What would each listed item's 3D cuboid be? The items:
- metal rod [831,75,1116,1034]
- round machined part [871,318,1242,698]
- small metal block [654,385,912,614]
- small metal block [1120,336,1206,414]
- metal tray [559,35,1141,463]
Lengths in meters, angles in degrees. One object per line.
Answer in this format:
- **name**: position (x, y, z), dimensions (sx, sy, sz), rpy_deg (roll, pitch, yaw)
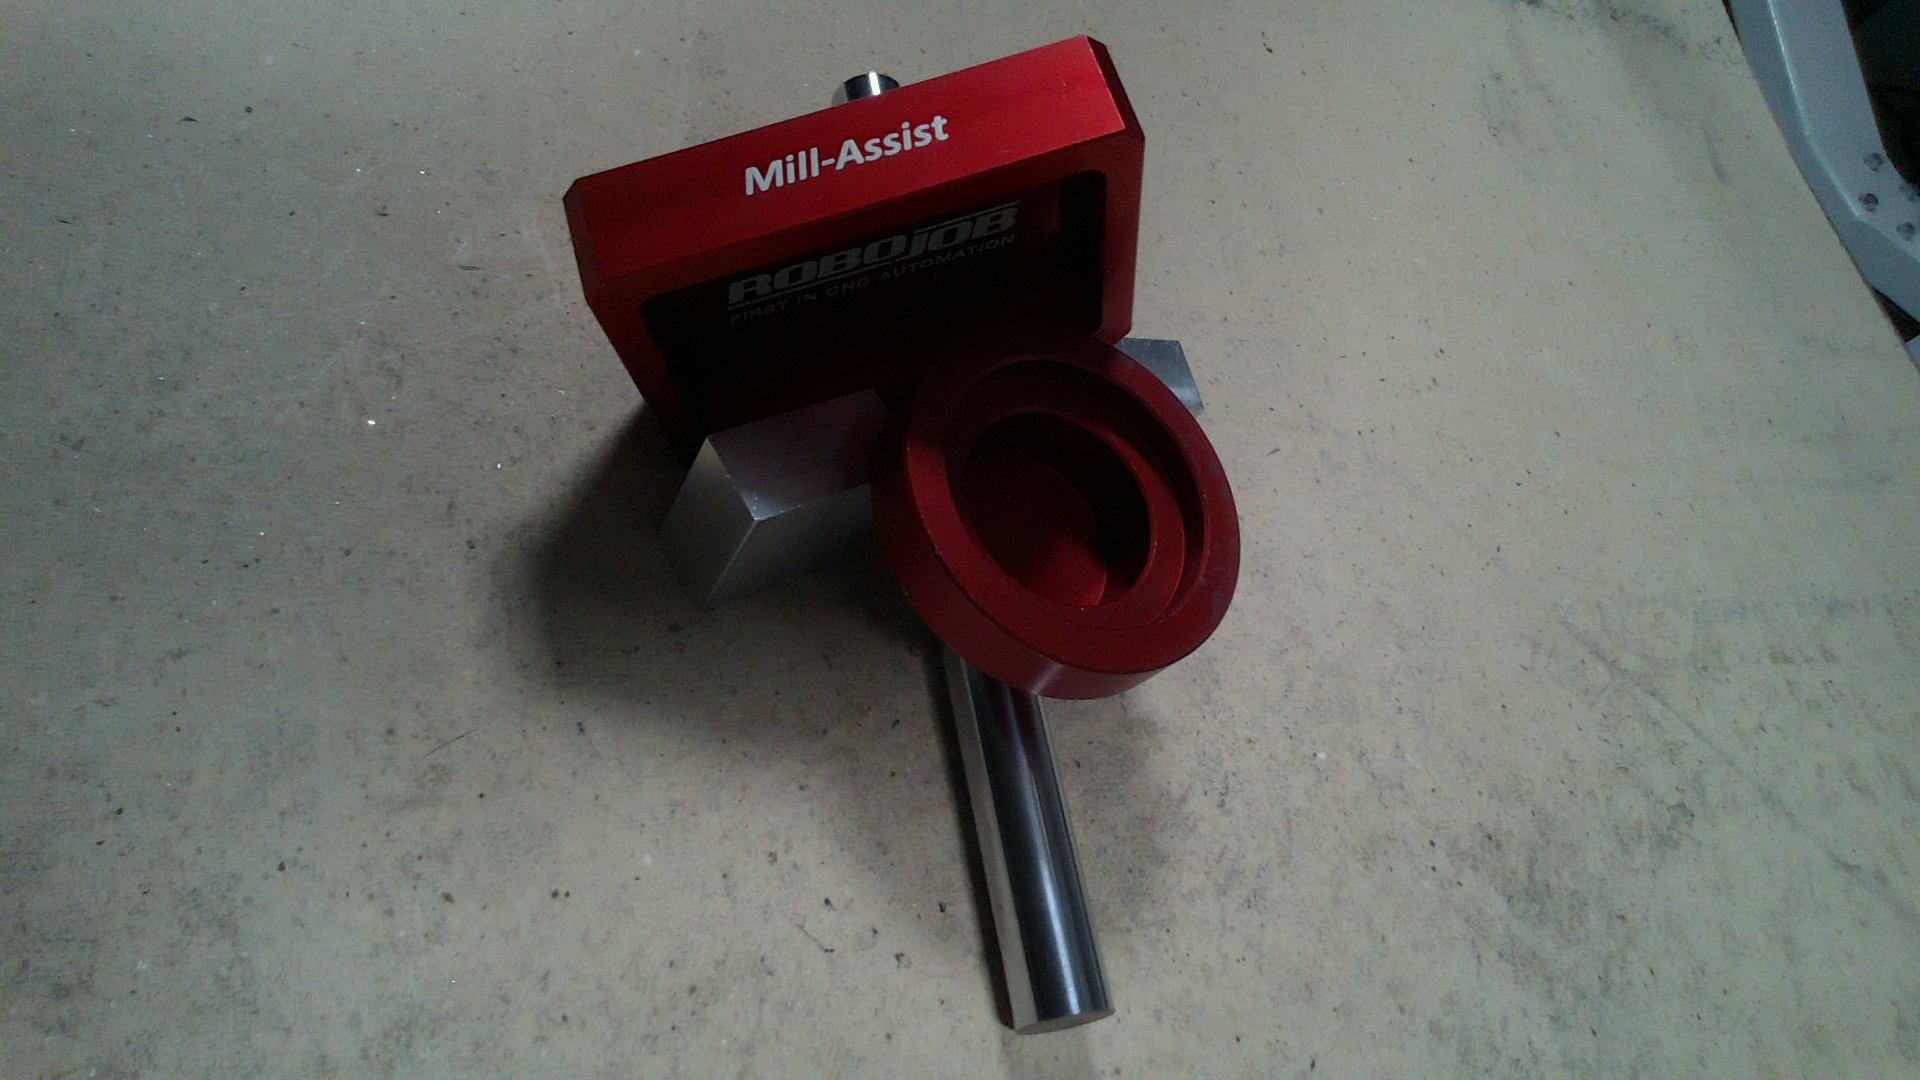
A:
- **metal rod**: position (-0.003, -0.015, 0.398), dimensions (0.025, 0.025, 0.300), rpy_deg (2, 61, -27)
- **round machined part**: position (0.021, -0.005, 0.358), dimensions (0.098, 0.042, 0.098), rpy_deg (14, 59, -24)
- **small metal block**: position (-0.045, -0.010, 0.356), dimensions (0.050, 0.050, 0.025), rpy_deg (-21, 73, -36)
- **small metal block**: position (0.037, -0.037, 0.416), dimensions (0.050, 0.050, 0.025), rpy_deg (-2, 62, -29)
- **metal tray**: position (-0.022, -0.068, 0.348), dimensions (0.130, 0.090, 0.030), rpy_deg (-17, 66, -3)
